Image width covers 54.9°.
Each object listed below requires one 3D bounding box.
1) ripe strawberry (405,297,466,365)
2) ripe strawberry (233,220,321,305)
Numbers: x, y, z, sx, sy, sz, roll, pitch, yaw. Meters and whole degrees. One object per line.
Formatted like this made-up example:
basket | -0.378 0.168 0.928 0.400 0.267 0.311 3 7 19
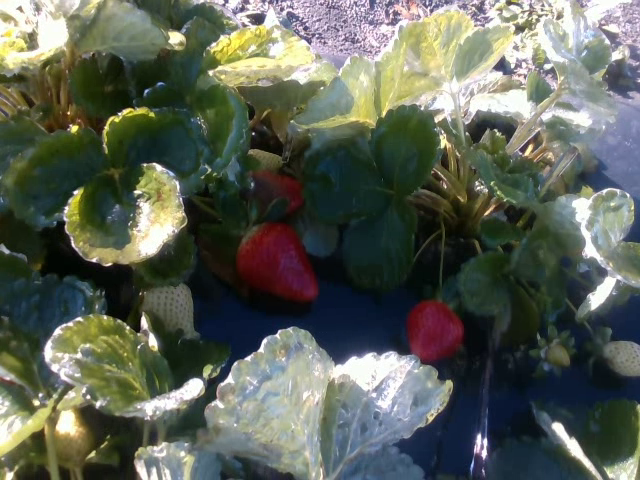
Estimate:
ripe strawberry | 0.065 0.055 0.345 0.039 0.047 0.040 40 -33 -3
ripe strawberry | -0.020 0.015 0.346 0.044 0.056 0.040 -40 -1 -22
